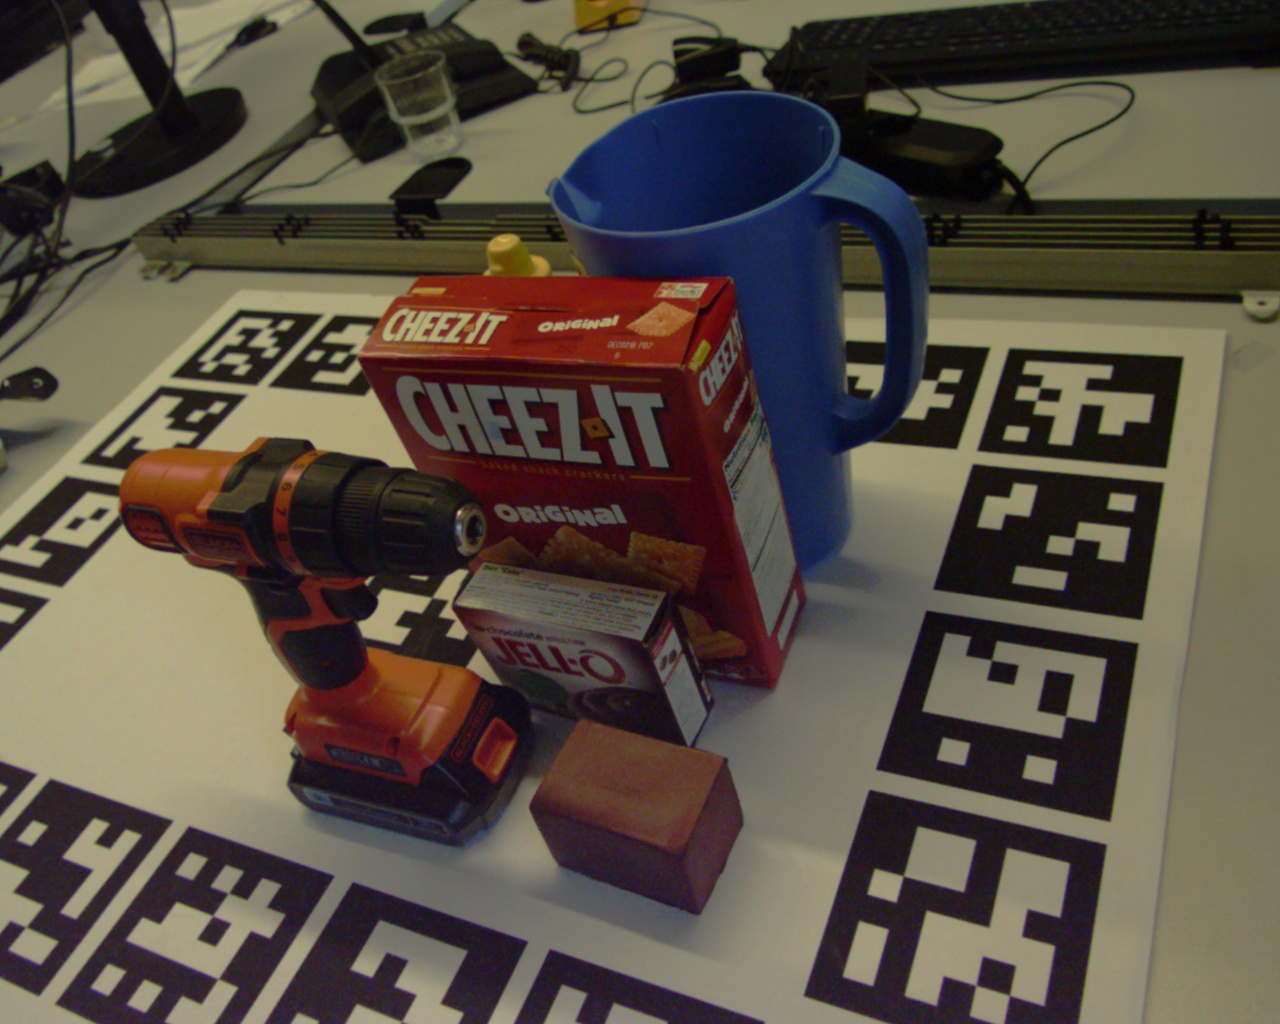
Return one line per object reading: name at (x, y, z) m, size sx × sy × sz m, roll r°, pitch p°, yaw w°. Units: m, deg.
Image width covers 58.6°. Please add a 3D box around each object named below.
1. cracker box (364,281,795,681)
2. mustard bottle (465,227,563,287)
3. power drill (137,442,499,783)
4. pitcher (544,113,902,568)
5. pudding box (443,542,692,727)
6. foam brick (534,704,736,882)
cracker box at (-0.024, -0.010, 0.589) m, size 0.166 × 0.212 × 0.072 m, roll 4°, pitch 45°, yaw 27°
mustard bottle at (-0.061, -0.087, 0.692) m, size 0.097 × 0.190 × 0.058 m, roll 20°, pitch 56°, yaw 35°
power drill at (-0.132, 0.049, 0.545) m, size 0.187 × 0.185 × 0.057 m, roll 7°, pitch 45°, yaw 25°
pitcher at (0.056, -0.080, 0.624) m, size 0.191 × 0.240 × 0.132 m, roll 12°, pitch 50°, yaw 32°
pudding box at (-0.037, 0.061, 0.599) m, size 0.115 × 0.089 × 0.038 m, roll 6°, pitch 46°, yaw 29°
foam brick at (-0.002, 0.136, 0.556) m, size 0.079 × 0.051 × 0.052 m, roll 9°, pitch 51°, yaw 28°
